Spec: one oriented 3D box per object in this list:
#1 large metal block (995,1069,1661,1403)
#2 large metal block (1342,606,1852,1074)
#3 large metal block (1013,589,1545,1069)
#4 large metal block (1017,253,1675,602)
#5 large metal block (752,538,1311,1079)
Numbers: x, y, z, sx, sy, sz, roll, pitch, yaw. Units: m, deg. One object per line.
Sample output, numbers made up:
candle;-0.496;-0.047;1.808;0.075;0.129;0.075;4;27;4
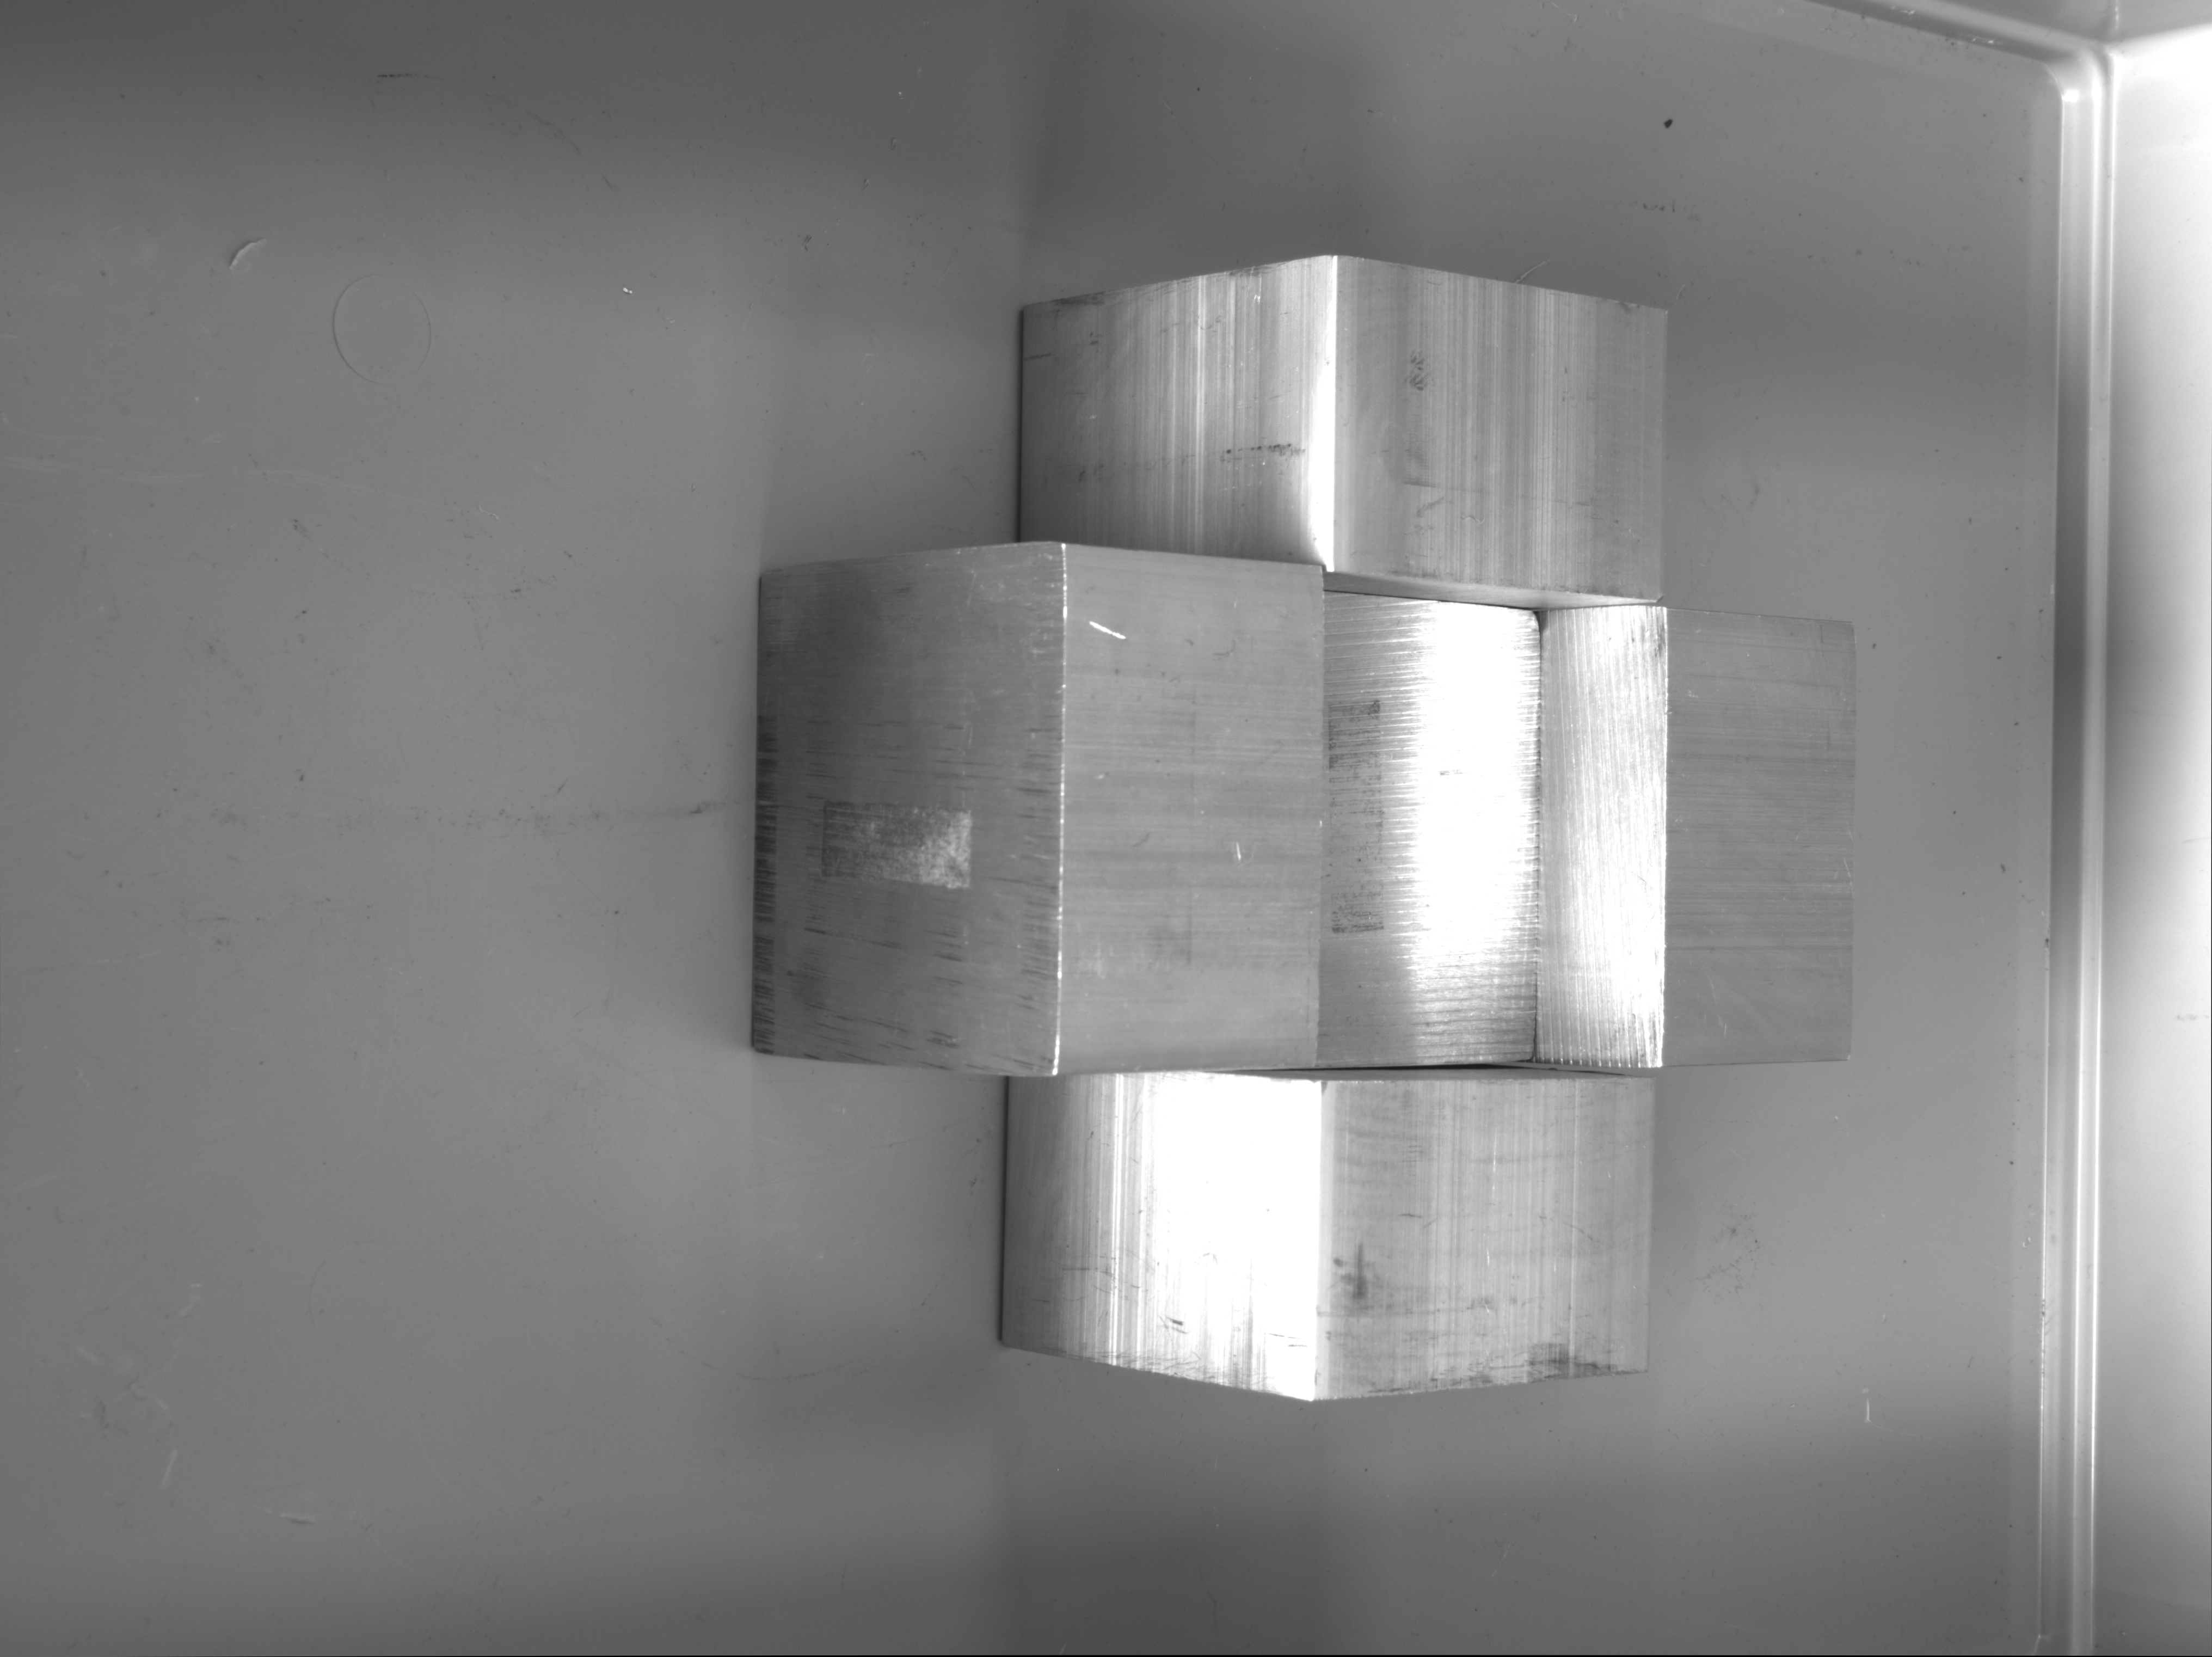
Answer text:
large metal block;0.038;0.066;0.630;0.080;0.080;0.050;3;88;-40
large metal block;0.089;0.002;0.673;0.050;0.080;0.080;1;89;-40
large metal block;0.030;0.001;0.642;0.080;0.050;0.080;1;89;-40
large metal block;0.041;-0.065;0.633;0.080;0.080;0.050;1;89;-40
large metal block;-0.013;-0.003;0.589;0.050;0.080;0.080;1;89;-40
